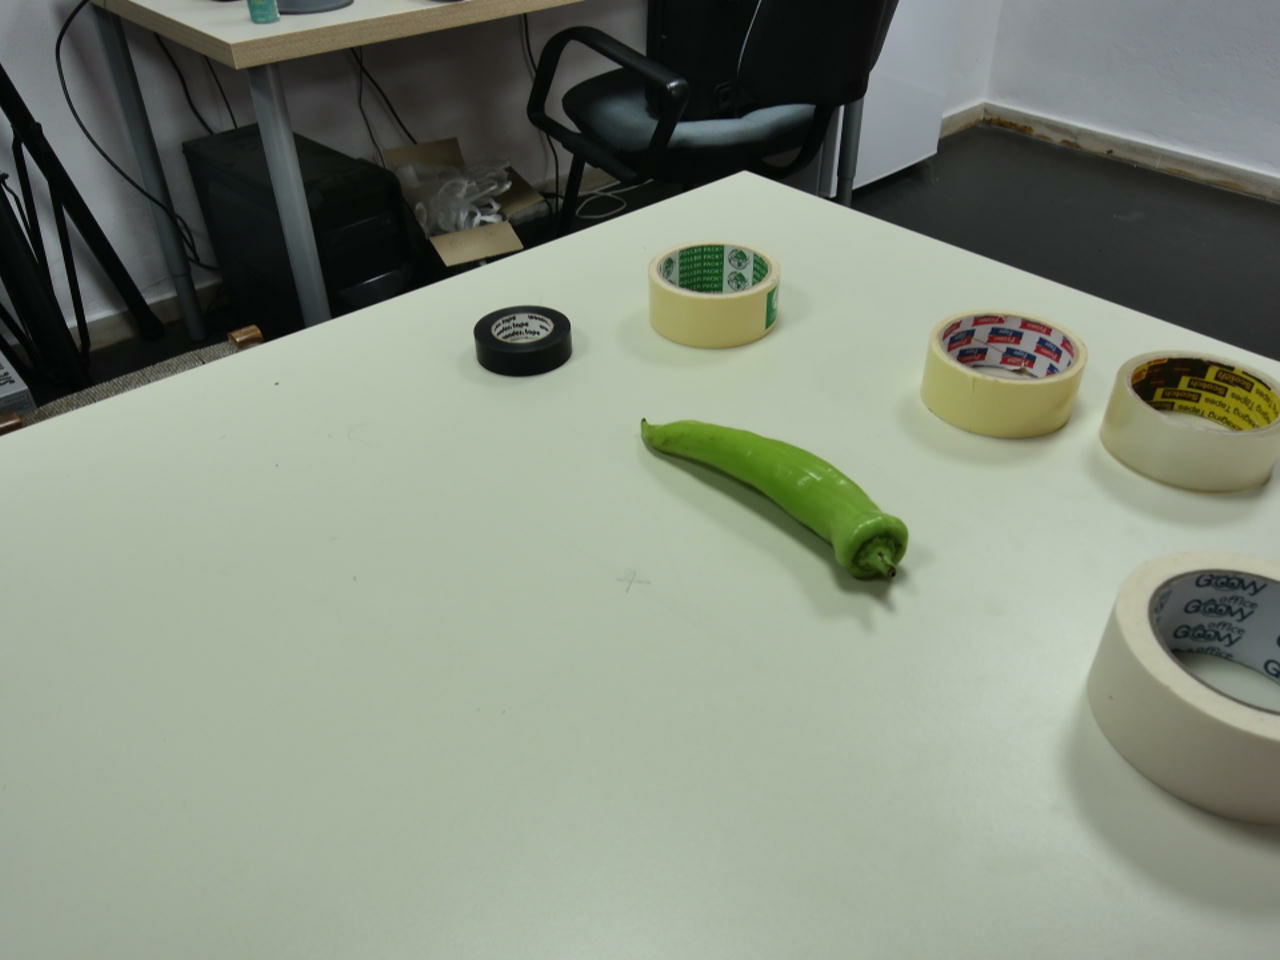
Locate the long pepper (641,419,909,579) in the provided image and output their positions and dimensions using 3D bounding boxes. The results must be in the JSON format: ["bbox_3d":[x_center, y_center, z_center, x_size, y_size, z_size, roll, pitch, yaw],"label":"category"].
[{"bbox_3d":[0.070,-0.004,0.538,0.046,0.038,0.197,-25,42,-29],"label":"long pepper"}]
